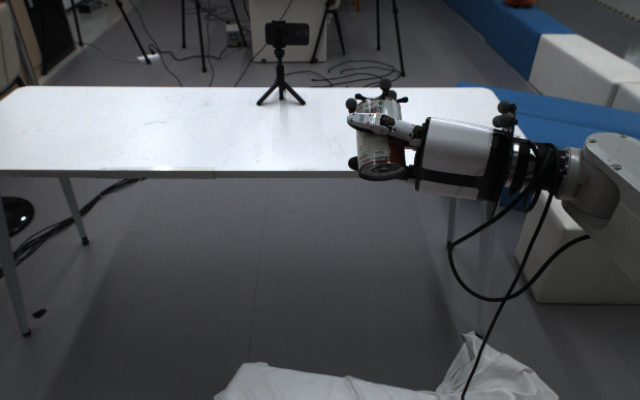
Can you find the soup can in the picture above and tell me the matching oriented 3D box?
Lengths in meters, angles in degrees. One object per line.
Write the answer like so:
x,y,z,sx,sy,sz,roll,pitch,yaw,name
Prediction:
0.084,-0.087,0.687,0.067,0.067,0.101,-1,72,-4,soup can
